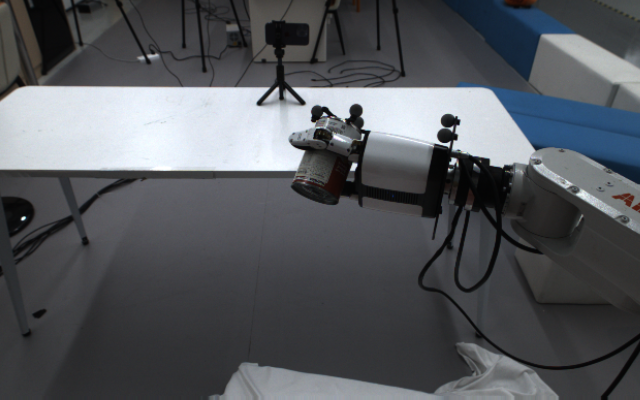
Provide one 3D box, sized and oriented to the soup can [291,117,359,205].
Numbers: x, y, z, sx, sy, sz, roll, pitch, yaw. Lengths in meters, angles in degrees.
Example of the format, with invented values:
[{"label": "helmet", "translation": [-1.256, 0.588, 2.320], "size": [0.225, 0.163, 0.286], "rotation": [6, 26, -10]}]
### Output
[{"label": "soup can", "translation": [0.010, -0.053, 0.652], "size": [0.067, 0.067, 0.101], "rotation": [15, 74, 18]}]
